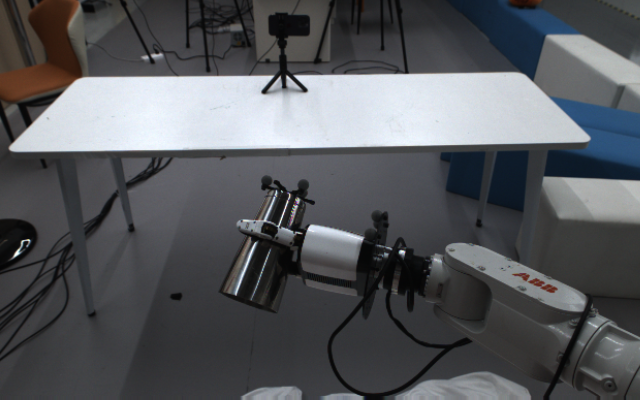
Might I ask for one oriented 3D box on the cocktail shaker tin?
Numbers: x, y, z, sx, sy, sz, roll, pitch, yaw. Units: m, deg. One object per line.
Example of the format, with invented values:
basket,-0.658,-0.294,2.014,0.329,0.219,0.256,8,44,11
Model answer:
cocktail shaker tin,-0.081,0.074,0.732,0.093,0.093,0.170,14,70,16
